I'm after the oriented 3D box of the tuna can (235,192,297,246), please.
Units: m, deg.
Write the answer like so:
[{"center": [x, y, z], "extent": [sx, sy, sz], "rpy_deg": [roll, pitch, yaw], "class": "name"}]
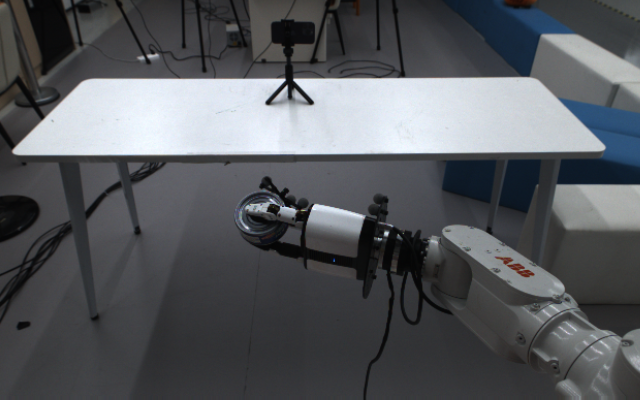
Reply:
[{"center": [-0.091, 0.034, 0.777], "extent": [0.085, 0.034, 0.085], "rpy_deg": [-4, 58, 6], "class": "tuna can"}]
